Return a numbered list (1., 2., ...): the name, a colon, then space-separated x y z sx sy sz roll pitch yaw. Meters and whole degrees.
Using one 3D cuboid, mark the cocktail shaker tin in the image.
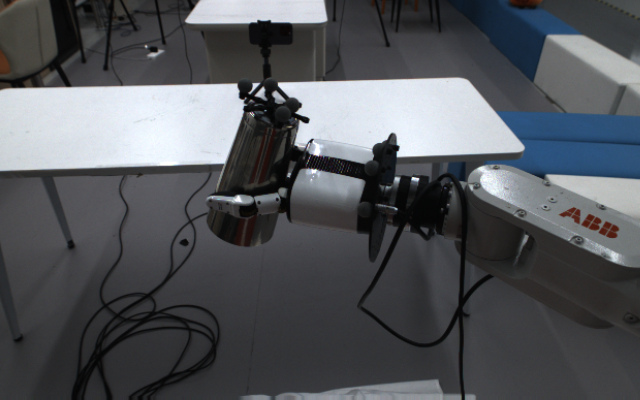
1. cocktail shaker tin: -0.082 -0.034 0.611 0.093 0.170 0.093 15 31 -10
